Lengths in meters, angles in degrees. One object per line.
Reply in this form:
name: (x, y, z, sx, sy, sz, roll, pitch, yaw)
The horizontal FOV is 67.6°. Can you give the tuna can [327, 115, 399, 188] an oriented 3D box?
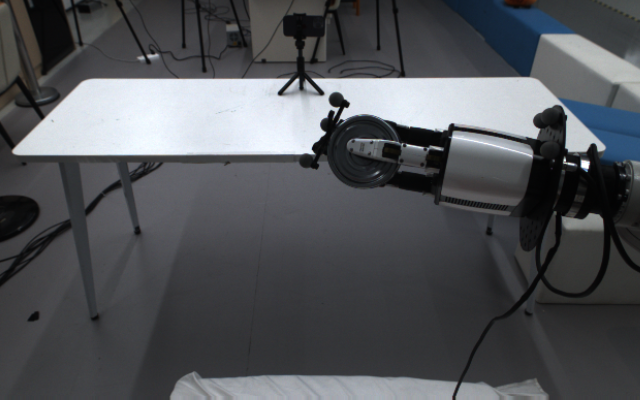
tuna can: (0.054, -0.059, 0.565, 0.085, 0.085, 0.034, 8, 4, 9)
